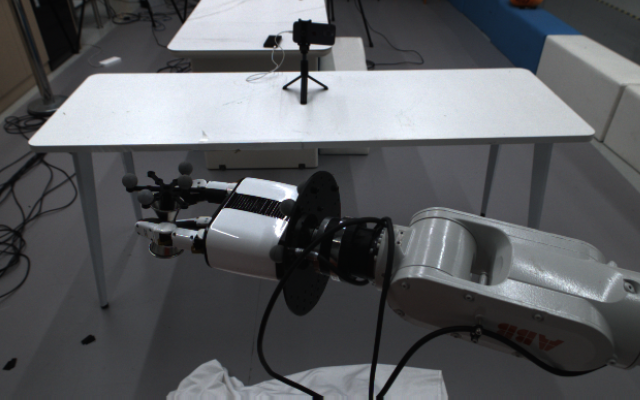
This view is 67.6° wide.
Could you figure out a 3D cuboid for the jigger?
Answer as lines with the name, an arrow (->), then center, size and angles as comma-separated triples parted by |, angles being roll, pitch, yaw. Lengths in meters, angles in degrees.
jigger -> -0.186, 0.031, 0.589 | 0.043, 0.071, 0.043 | 9, 31, -5
